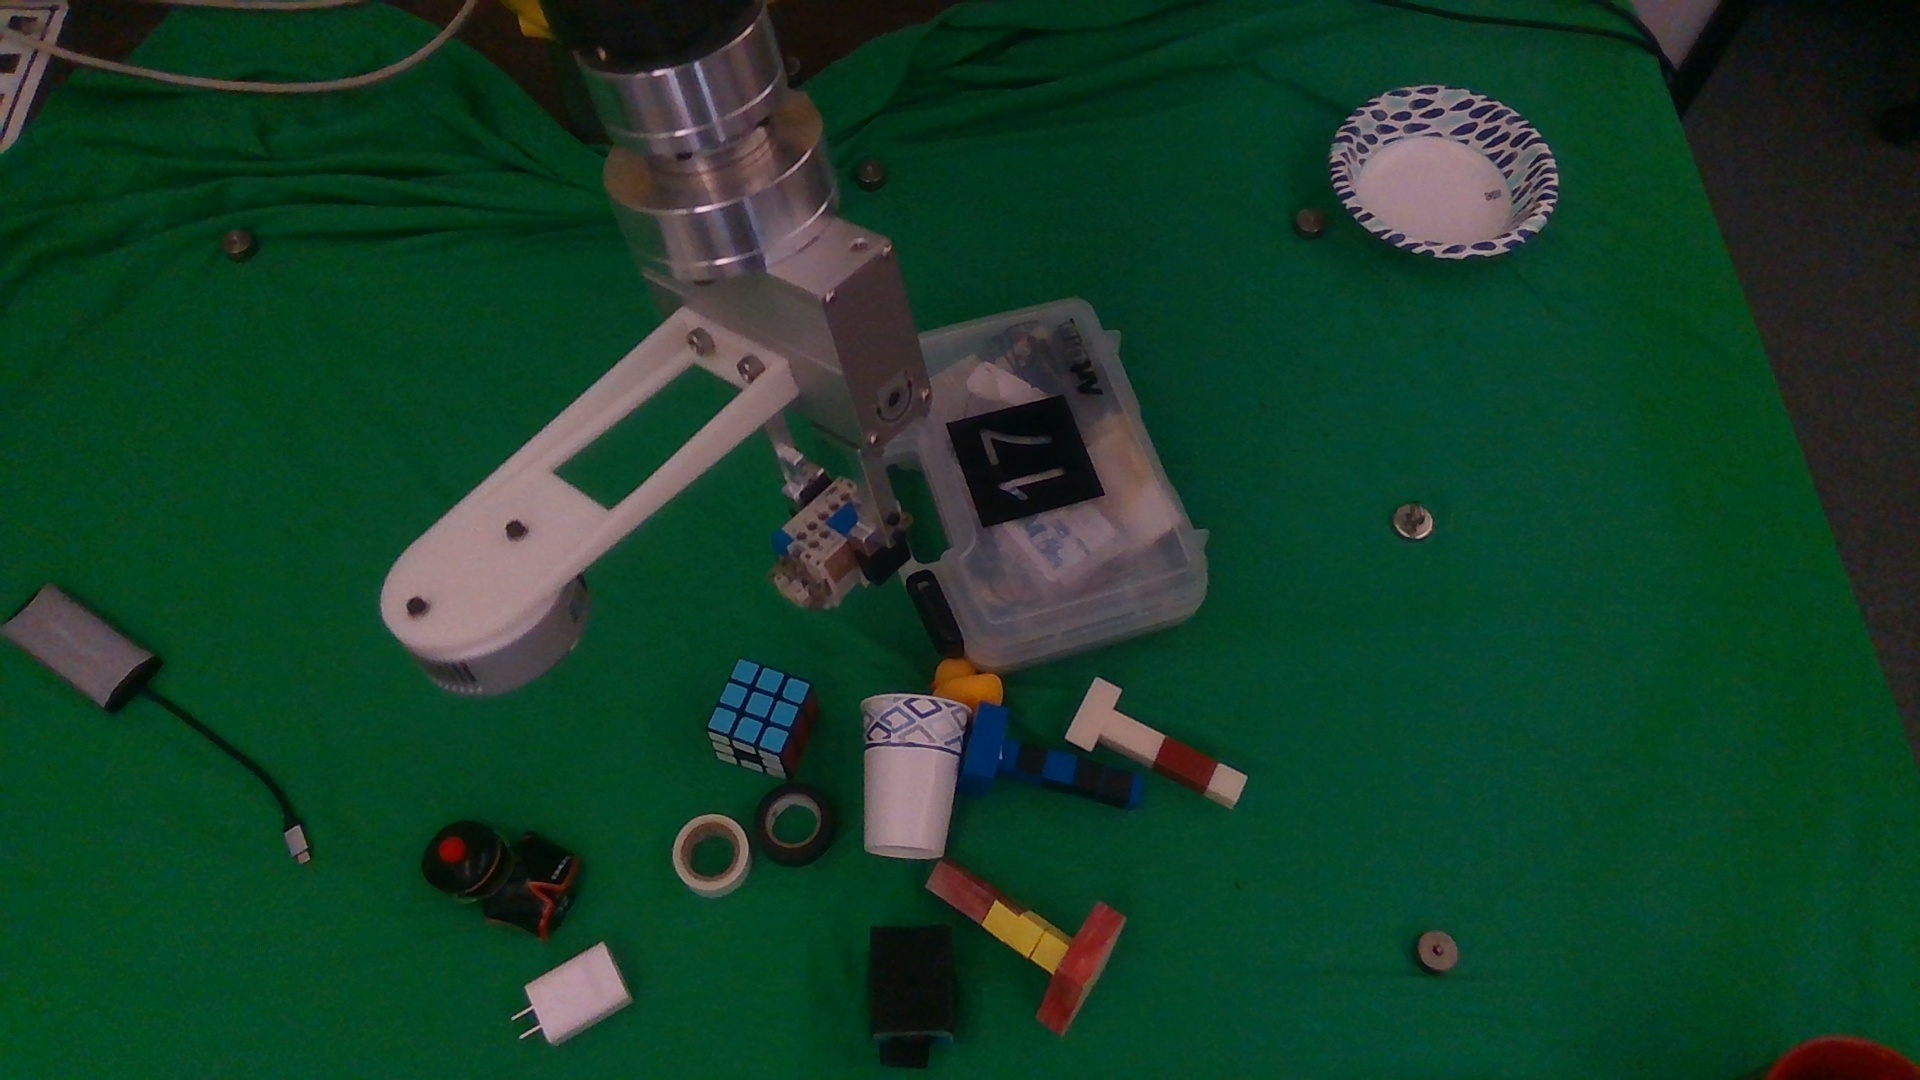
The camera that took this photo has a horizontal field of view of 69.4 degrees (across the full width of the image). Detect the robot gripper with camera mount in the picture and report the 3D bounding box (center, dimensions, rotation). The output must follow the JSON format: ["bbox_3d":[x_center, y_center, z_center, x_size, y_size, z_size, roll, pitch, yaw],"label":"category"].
[{"bbox_3d":[-0.104,0.012,0.512,0.119,0.158,0.193,20,54,37],"label":"robot gripper with camera mount"}]

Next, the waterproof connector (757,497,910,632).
[{"bbox_3d":[-0.055,0.012,0.596,0.065,0.037,0.035,-39,46,-20],"label":"waterproof connector"}]
